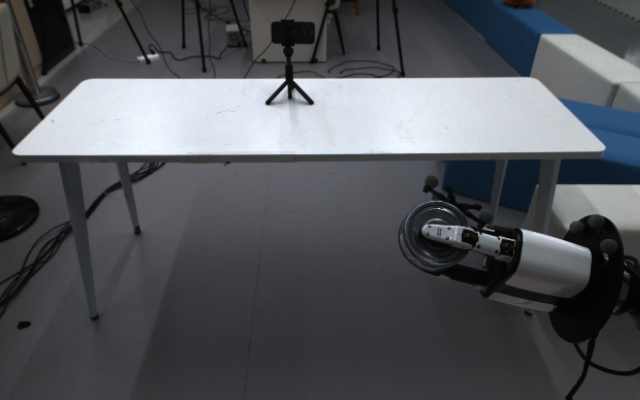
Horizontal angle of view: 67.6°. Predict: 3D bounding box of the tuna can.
[{"bbox_3d":[0.145,0.043,0.600,0.085,0.034,0.085,0,74,0],"label":"tuna can"}]
